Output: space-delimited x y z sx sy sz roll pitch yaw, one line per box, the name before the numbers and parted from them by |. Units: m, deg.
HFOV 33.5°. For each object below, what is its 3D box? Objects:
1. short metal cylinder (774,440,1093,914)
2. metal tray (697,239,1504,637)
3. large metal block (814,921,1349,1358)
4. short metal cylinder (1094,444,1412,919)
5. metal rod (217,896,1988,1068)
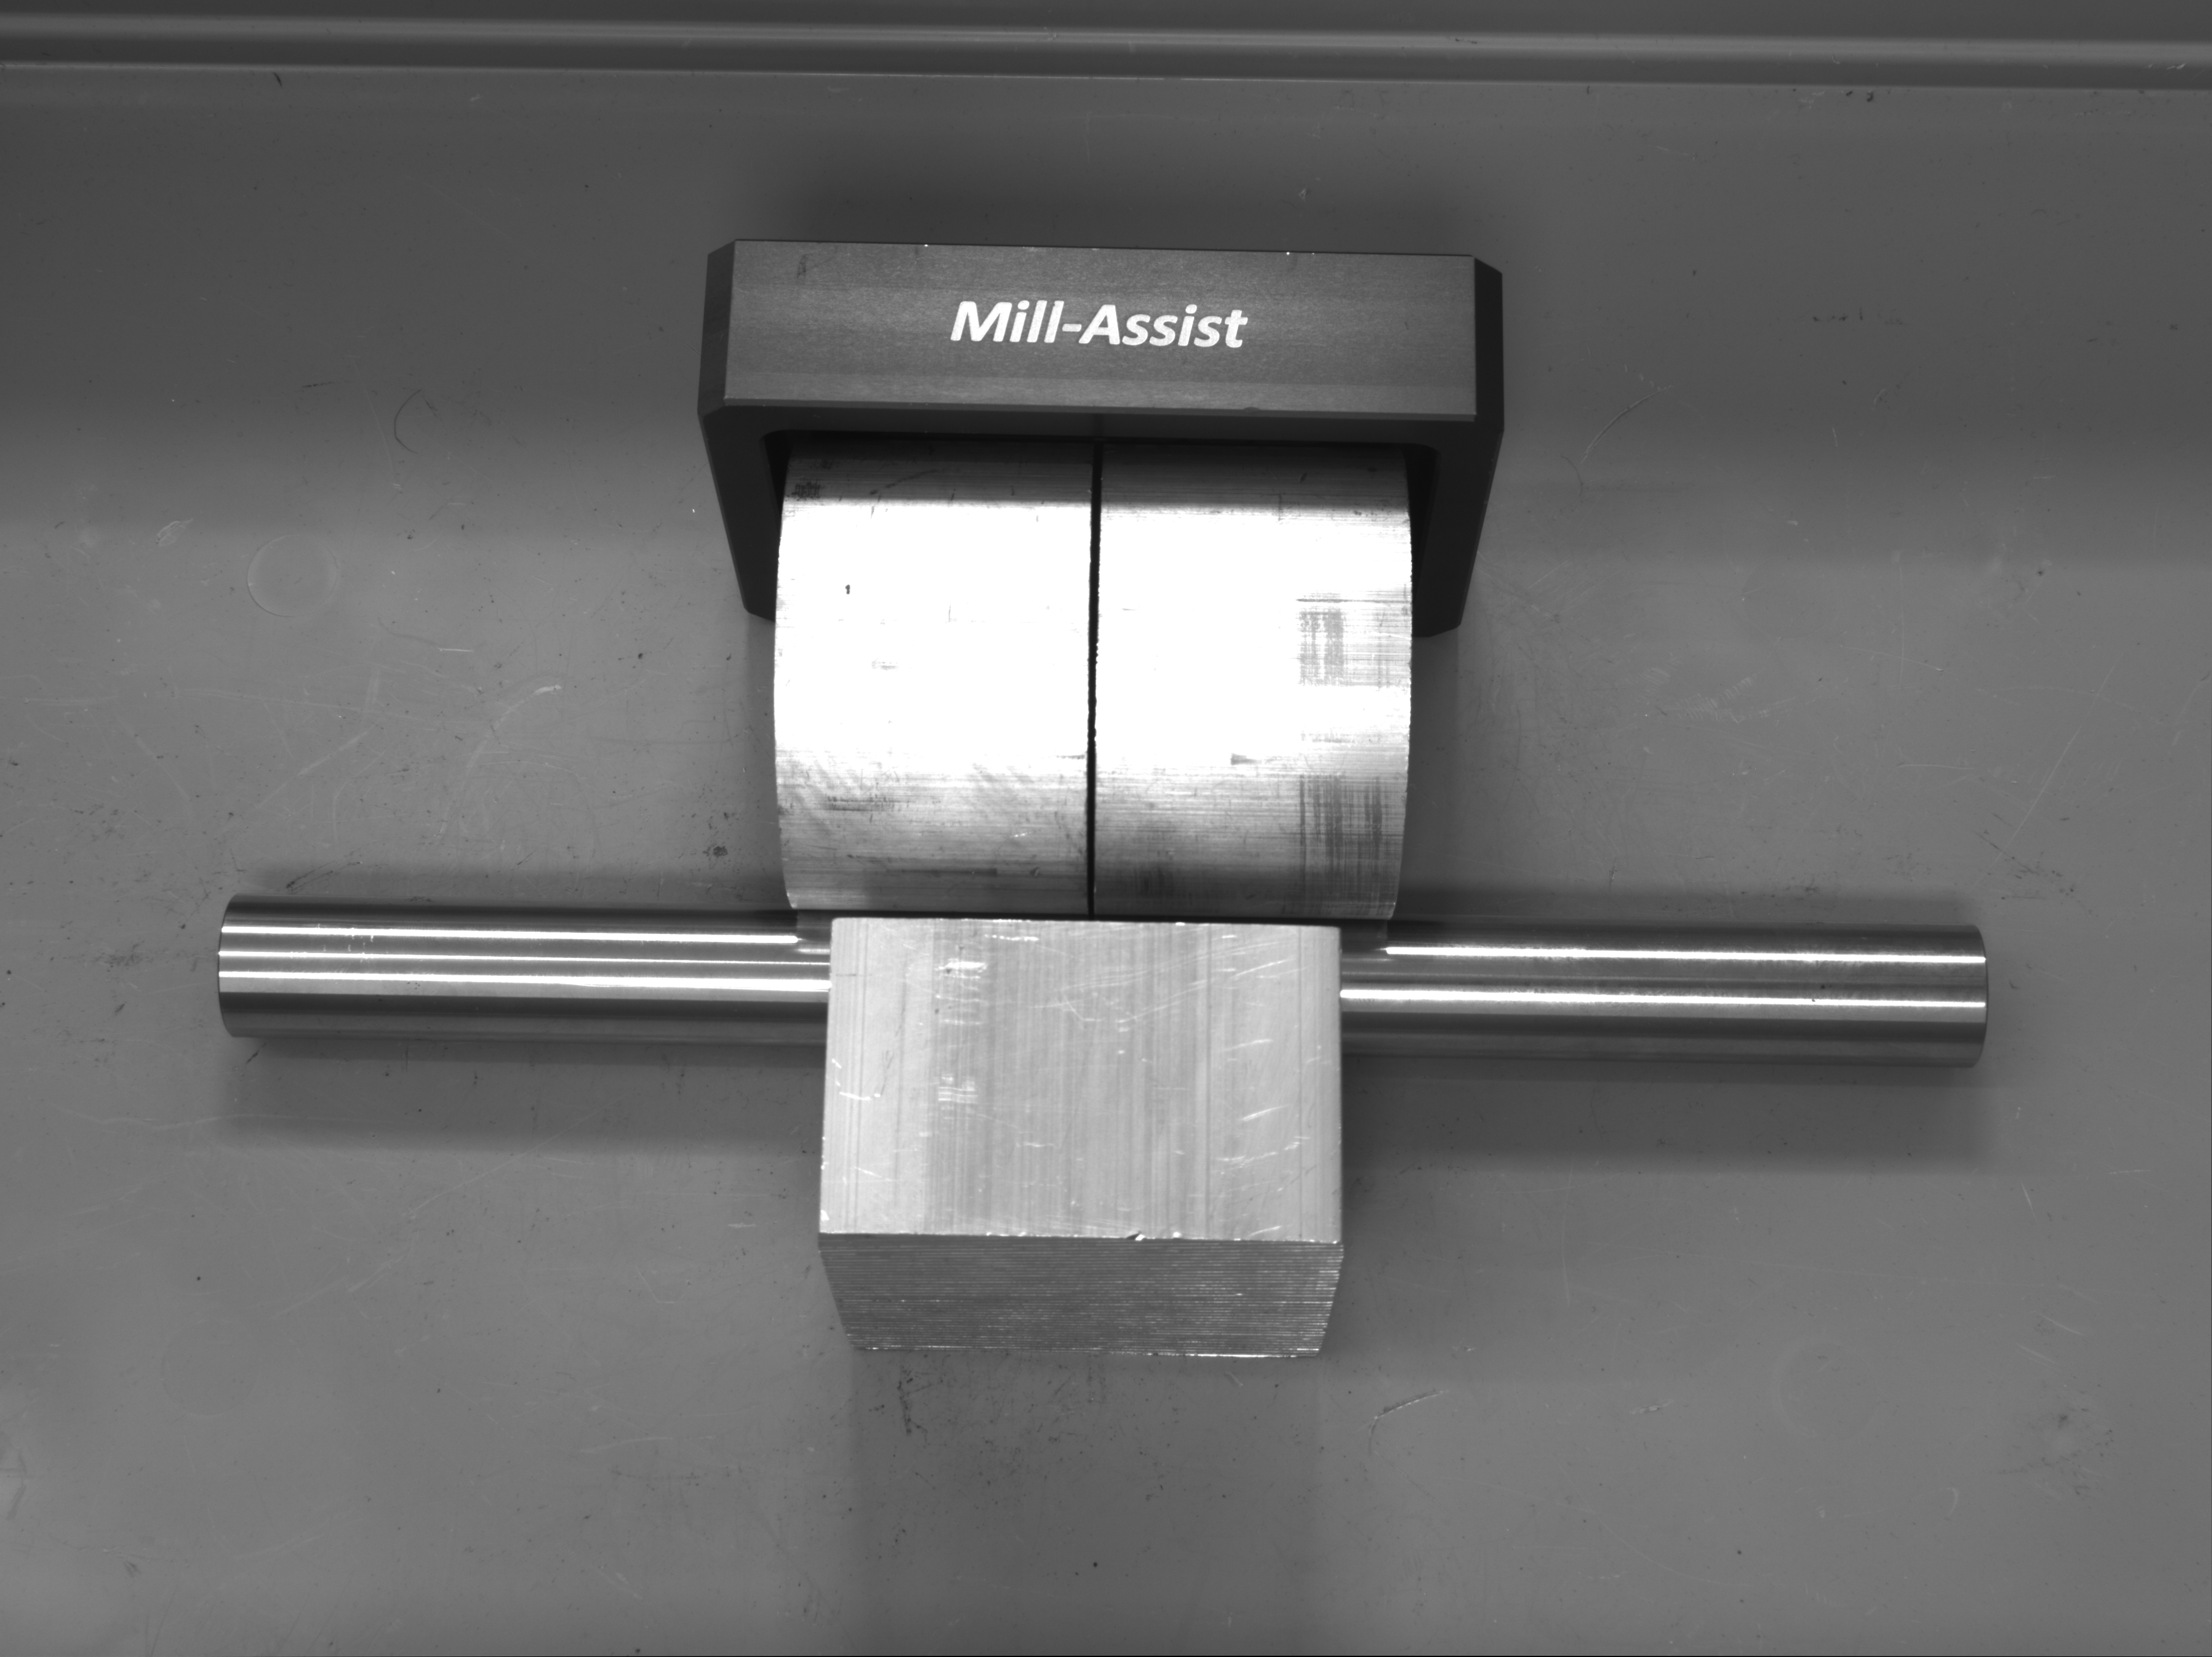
short metal cylinder | -0.027 -0.026 0.625 0.050 0.080 0.080 1 70 1
metal tray | 0.000 -0.065 0.634 0.130 0.090 0.030 1 70 1
large metal block | -0.003 0.052 0.595 0.080 0.080 0.050 1 70 0
short metal cylinder | 0.024 -0.025 0.625 0.050 0.080 0.080 2 70 1
metal rod | -0.001 0.026 0.634 0.300 0.025 0.025 1 70 0
